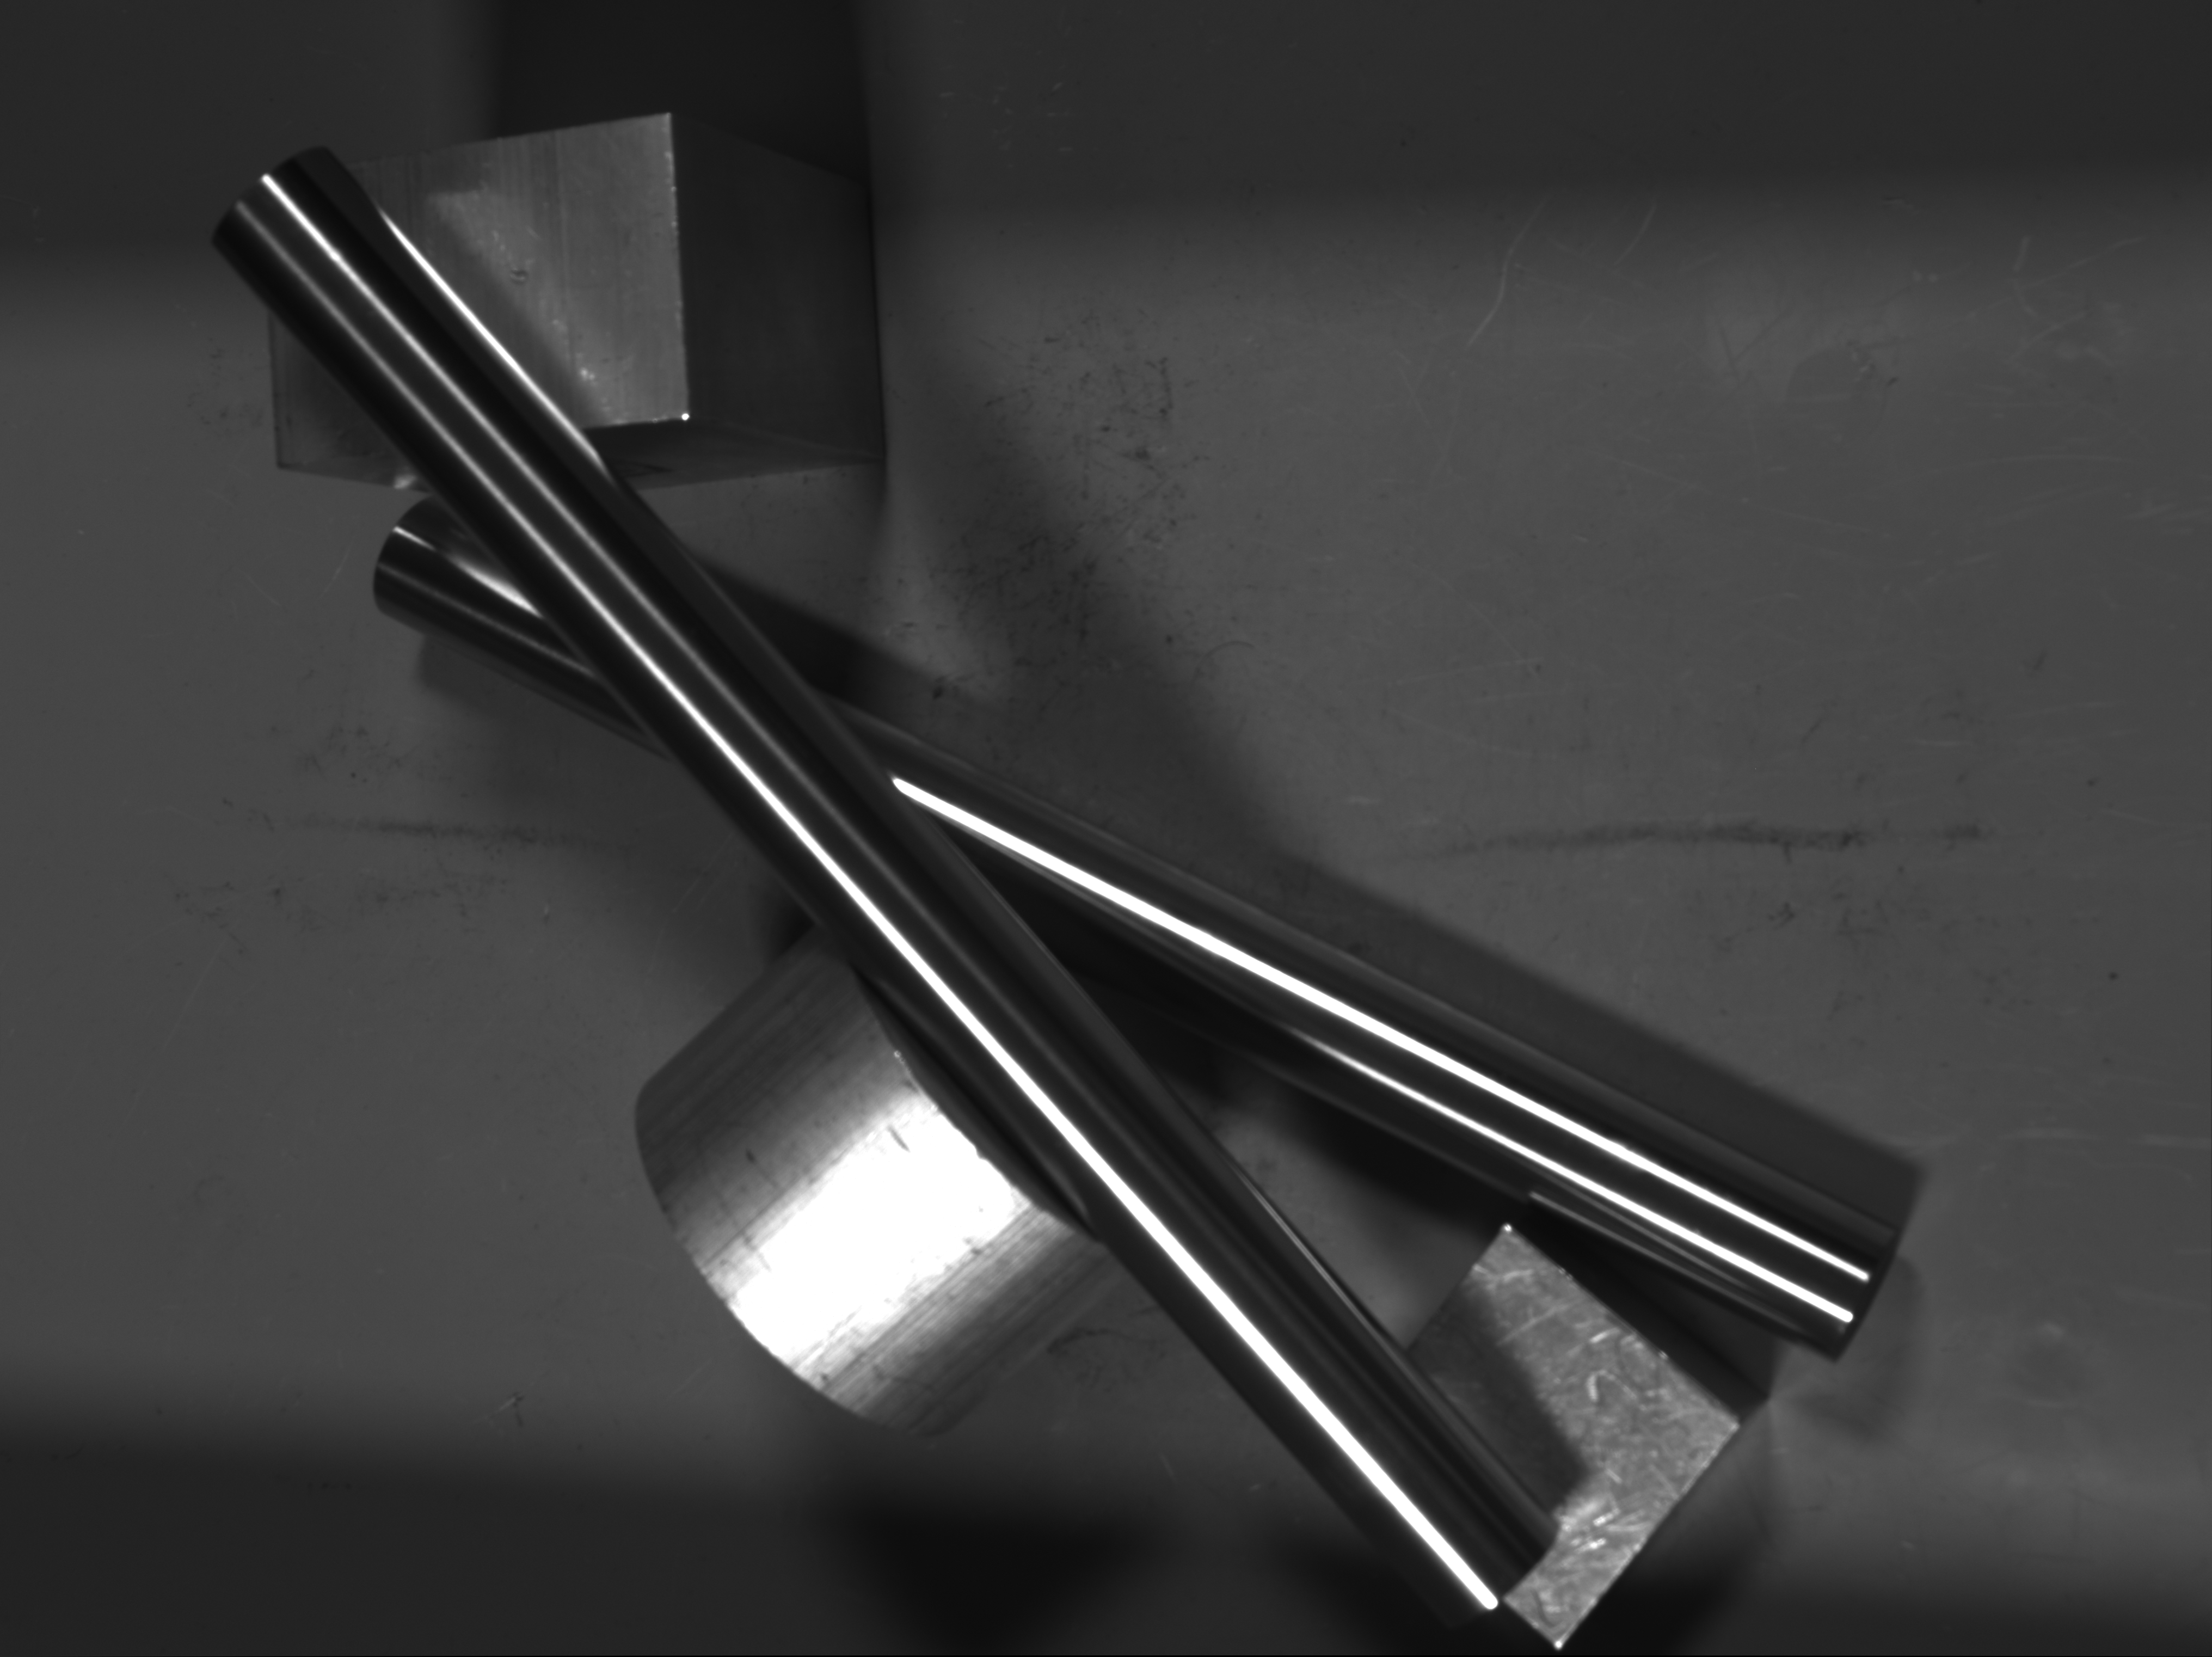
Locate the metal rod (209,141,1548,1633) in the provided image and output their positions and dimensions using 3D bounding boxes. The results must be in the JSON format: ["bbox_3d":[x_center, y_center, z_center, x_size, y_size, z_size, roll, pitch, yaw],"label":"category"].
[{"bbox_3d":[-0.037,0.009,0.595,0.025,0.025,0.300,-42,89,15],"label":"metal rod"}]

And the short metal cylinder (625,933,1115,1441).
[{"bbox_3d":[-0.036,0.057,0.626,0.050,0.080,0.080,-42,77,15],"label":"short metal cylinder"}]

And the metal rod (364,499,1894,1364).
[{"bbox_3d":[-0.004,0.013,0.645,0.300,0.025,0.025,27,99,18],"label":"metal rod"}]

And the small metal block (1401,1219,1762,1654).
[{"bbox_3d":[0.073,0.101,0.617,0.050,0.025,0.050,40,102,15],"label":"small metal block"}]

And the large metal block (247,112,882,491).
[{"bbox_3d":[-0.094,-0.089,0.648,0.080,0.080,0.050,-4,88,20],"label":"large metal block"}]
